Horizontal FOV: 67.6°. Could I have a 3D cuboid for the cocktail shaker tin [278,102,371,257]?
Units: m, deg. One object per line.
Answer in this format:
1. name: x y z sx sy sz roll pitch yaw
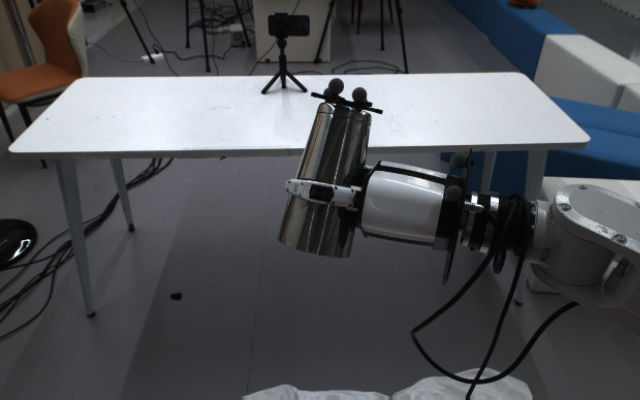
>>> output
1. cocktail shaker tin: 0.013 -0.025 0.586 0.093 0.170 0.093 13 4 -1
